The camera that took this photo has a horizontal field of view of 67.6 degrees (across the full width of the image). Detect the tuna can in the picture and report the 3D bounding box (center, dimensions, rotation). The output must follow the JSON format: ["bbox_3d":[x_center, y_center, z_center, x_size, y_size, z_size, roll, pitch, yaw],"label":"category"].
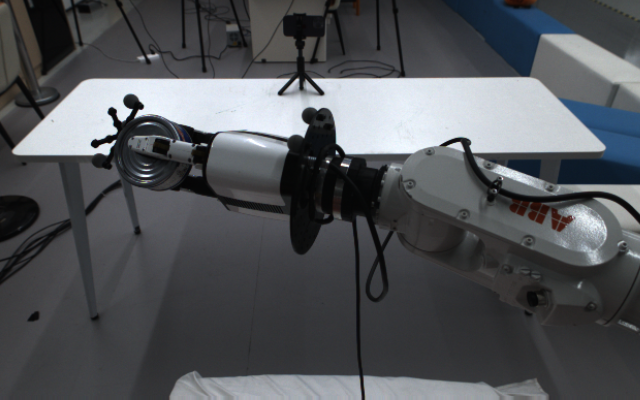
[{"bbox_3d":[-0.189,-0.051,0.561,0.085,0.085,0.034,8,-2,8],"label":"tuna can"}]
